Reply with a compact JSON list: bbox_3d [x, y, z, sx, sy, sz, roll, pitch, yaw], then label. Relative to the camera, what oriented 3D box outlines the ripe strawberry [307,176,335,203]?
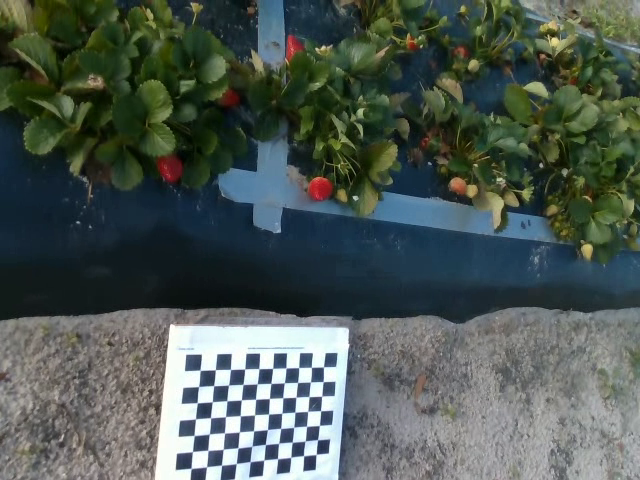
[{"bbox_3d":[0.001,-0.037,0.454,0.023,0.021,0.026,12,42,-5],"label":"ripe strawberry"}]

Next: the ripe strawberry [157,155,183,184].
[{"bbox_3d":[-0.100,-0.047,0.392,0.018,0.023,0.021,-5,-28,-13],"label":"ripe strawberry"}]
